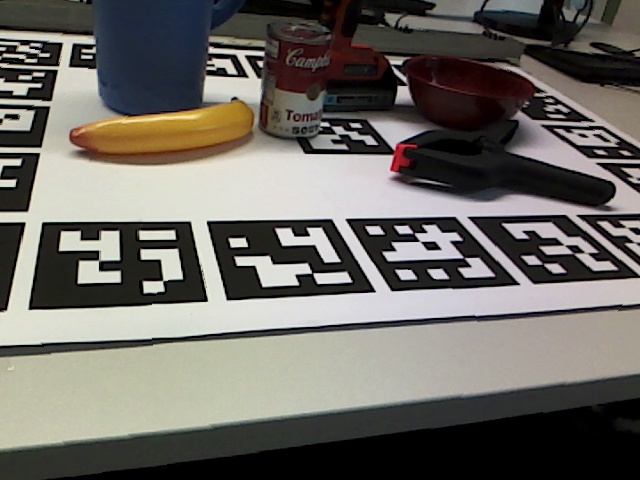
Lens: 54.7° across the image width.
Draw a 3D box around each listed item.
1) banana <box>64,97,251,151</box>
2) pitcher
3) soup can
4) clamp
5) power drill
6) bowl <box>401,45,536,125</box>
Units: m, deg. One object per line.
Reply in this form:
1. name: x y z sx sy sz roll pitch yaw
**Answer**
1. banana: -0.135 -0.109 0.579 0.196 0.039 0.075 -20 35 -39
2. pitcher: -0.149 -0.259 0.611 0.188 0.242 0.134 -20 40 -37
3. soup can: -0.027 -0.170 0.639 0.068 0.102 0.068 5 26 -3
4. clamp: 0.161 -0.089 0.611 0.202 0.036 0.166 -4 40 -20
5. power drill: 0.065 -0.281 0.717 0.184 0.187 0.058 -5 36 -23
6. bowl: 0.173 -0.184 0.751 0.161 0.055 0.162 7 35 -5
